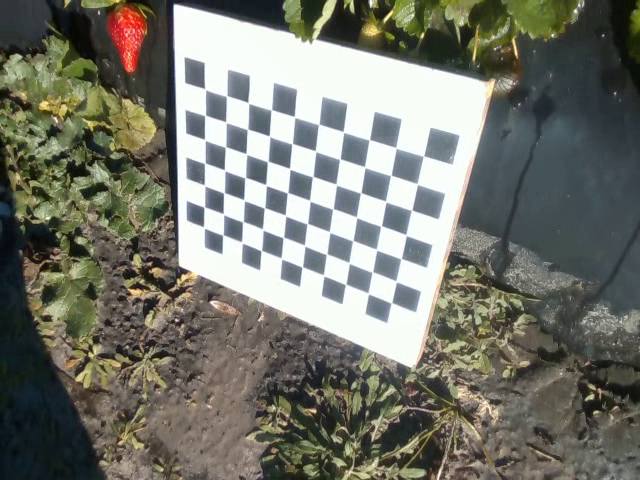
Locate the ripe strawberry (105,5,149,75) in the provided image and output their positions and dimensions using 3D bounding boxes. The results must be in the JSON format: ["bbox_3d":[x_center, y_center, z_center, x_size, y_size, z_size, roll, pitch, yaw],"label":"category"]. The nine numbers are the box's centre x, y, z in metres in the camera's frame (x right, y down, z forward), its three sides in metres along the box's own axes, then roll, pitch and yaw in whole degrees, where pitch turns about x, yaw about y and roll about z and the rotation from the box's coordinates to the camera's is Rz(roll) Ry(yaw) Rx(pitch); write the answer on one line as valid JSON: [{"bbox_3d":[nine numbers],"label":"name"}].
[{"bbox_3d":[-0.185,-0.186,0.721,0.048,0.069,0.040,4,19,34],"label":"ripe strawberry"}]
